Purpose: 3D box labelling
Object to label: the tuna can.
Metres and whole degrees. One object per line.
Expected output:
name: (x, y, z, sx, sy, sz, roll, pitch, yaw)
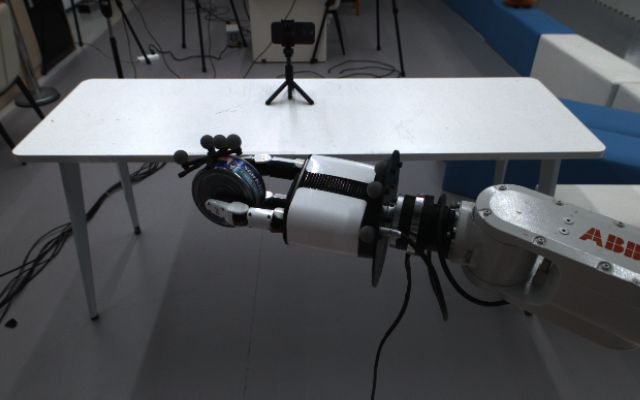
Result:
tuna can: (-0.108, -0.003, 0.588, 0.085, 0.085, 0.034, 11, 34, 13)
